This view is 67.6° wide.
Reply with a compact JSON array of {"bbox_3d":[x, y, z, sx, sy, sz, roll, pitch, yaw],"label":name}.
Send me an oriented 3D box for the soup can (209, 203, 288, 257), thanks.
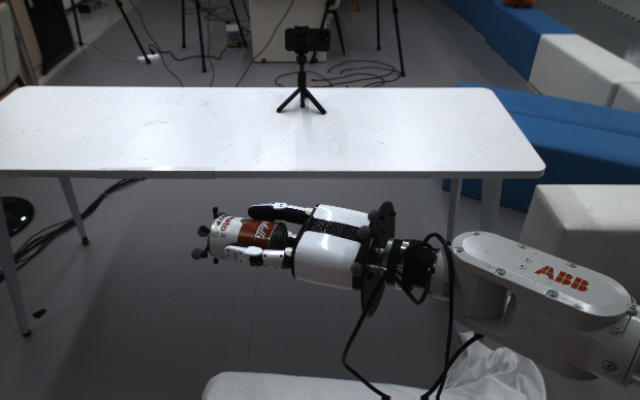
[{"bbox_3d":[-0.105,0.062,0.721,0.101,0.067,0.067,6,34,18],"label":"soup can"}]
